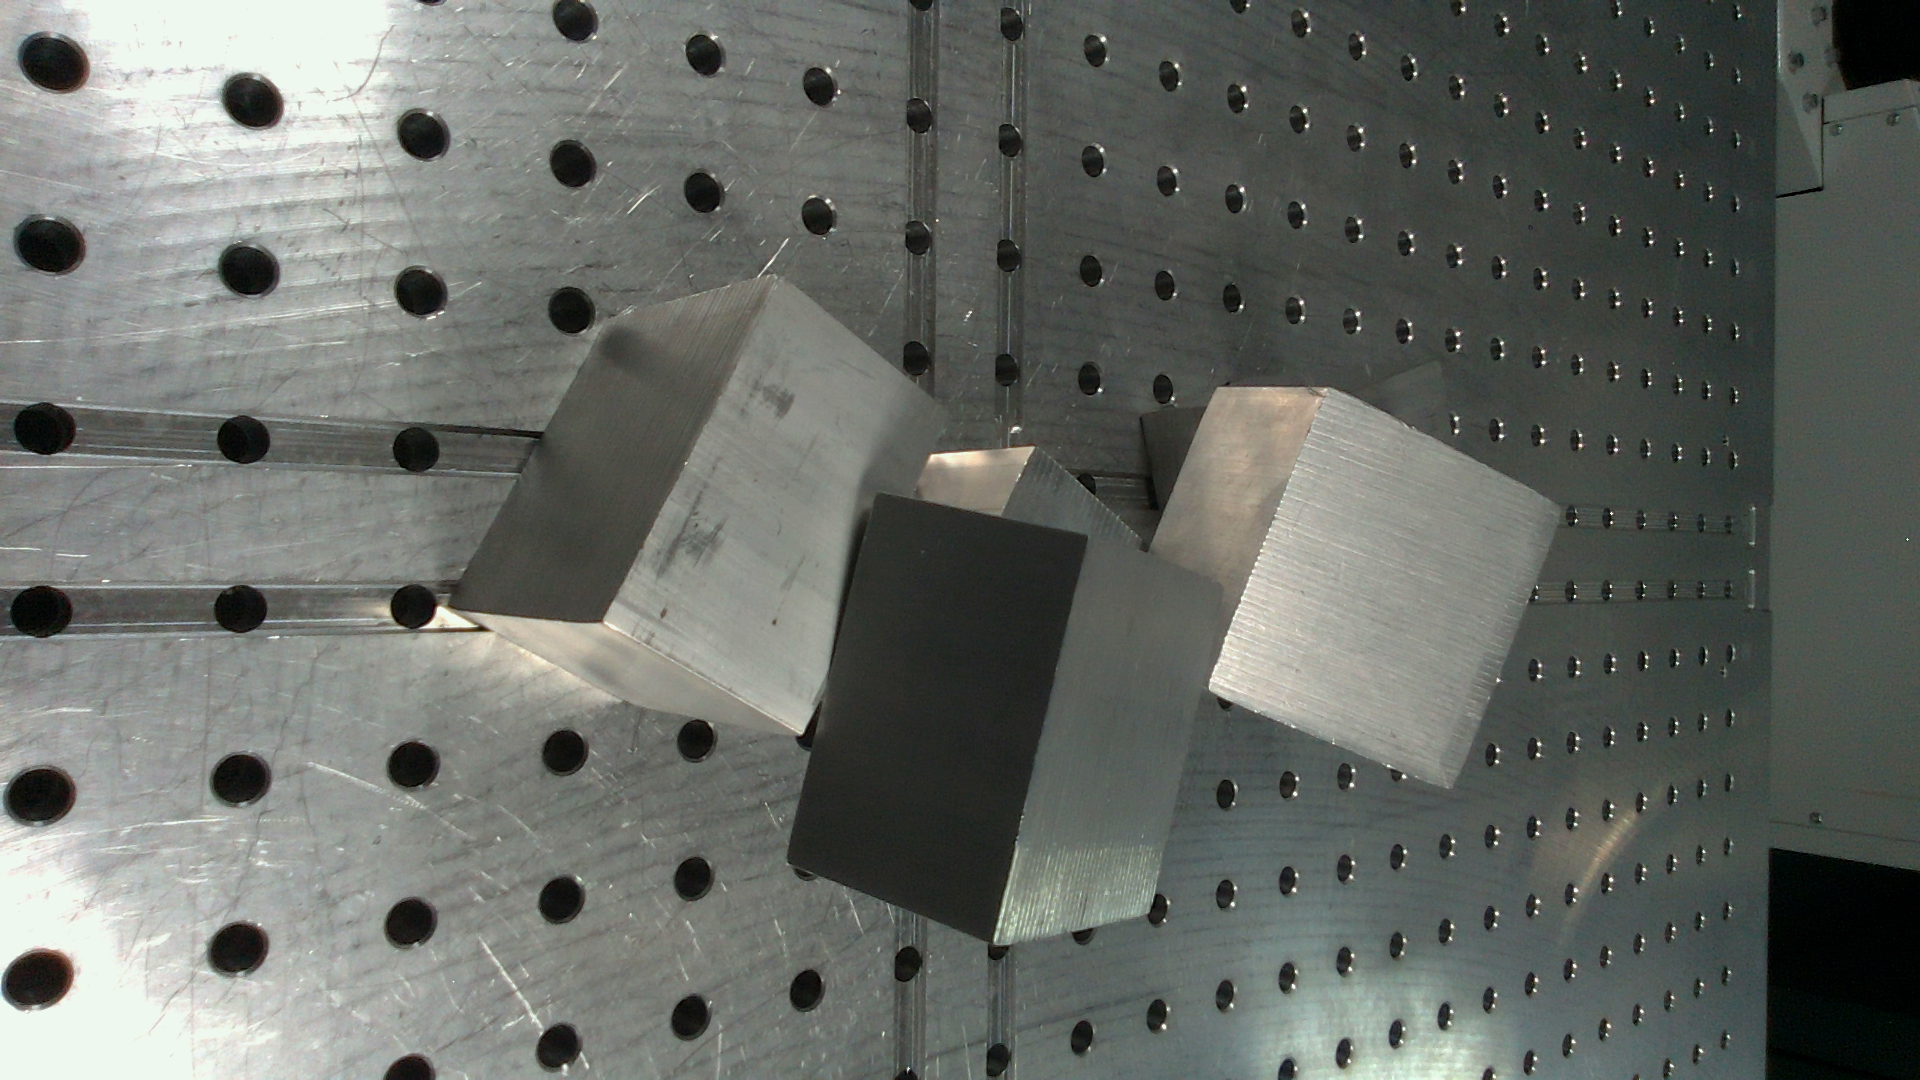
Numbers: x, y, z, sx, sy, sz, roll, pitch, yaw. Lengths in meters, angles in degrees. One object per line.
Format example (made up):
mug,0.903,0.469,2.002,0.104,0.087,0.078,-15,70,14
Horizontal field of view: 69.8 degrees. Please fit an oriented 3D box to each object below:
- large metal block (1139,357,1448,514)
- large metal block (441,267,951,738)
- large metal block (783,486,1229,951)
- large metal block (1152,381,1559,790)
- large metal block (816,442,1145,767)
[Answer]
large metal block,0.112,-0.011,0.449,0.050,0.080,0.080,-21,103,-38
large metal block,-0.059,-0.007,0.306,0.050,0.080,0.080,37,68,-34
large metal block,0.014,0.038,0.302,0.080,0.050,0.080,17,86,-59
large metal block,0.099,0.011,0.368,0.080,0.050,0.080,23,88,-22
large metal block,0.014,0.029,0.386,0.080,0.050,0.080,39,66,-33
